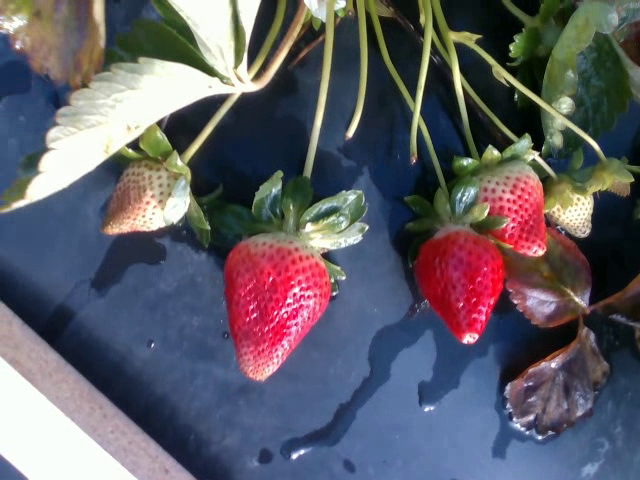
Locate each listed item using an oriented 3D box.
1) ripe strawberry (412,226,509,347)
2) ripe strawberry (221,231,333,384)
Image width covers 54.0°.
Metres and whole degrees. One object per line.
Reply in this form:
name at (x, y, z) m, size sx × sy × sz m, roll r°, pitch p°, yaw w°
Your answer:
ripe strawberry at (0.061, 0.022, 0.274) m, size 0.044 × 0.055 × 0.042 m, roll -12°, pitch -30°, yaw 17°
ripe strawberry at (-0.020, 0.027, 0.247) m, size 0.050 × 0.065 × 0.050 m, roll 11°, pitch -29°, yaw 8°
